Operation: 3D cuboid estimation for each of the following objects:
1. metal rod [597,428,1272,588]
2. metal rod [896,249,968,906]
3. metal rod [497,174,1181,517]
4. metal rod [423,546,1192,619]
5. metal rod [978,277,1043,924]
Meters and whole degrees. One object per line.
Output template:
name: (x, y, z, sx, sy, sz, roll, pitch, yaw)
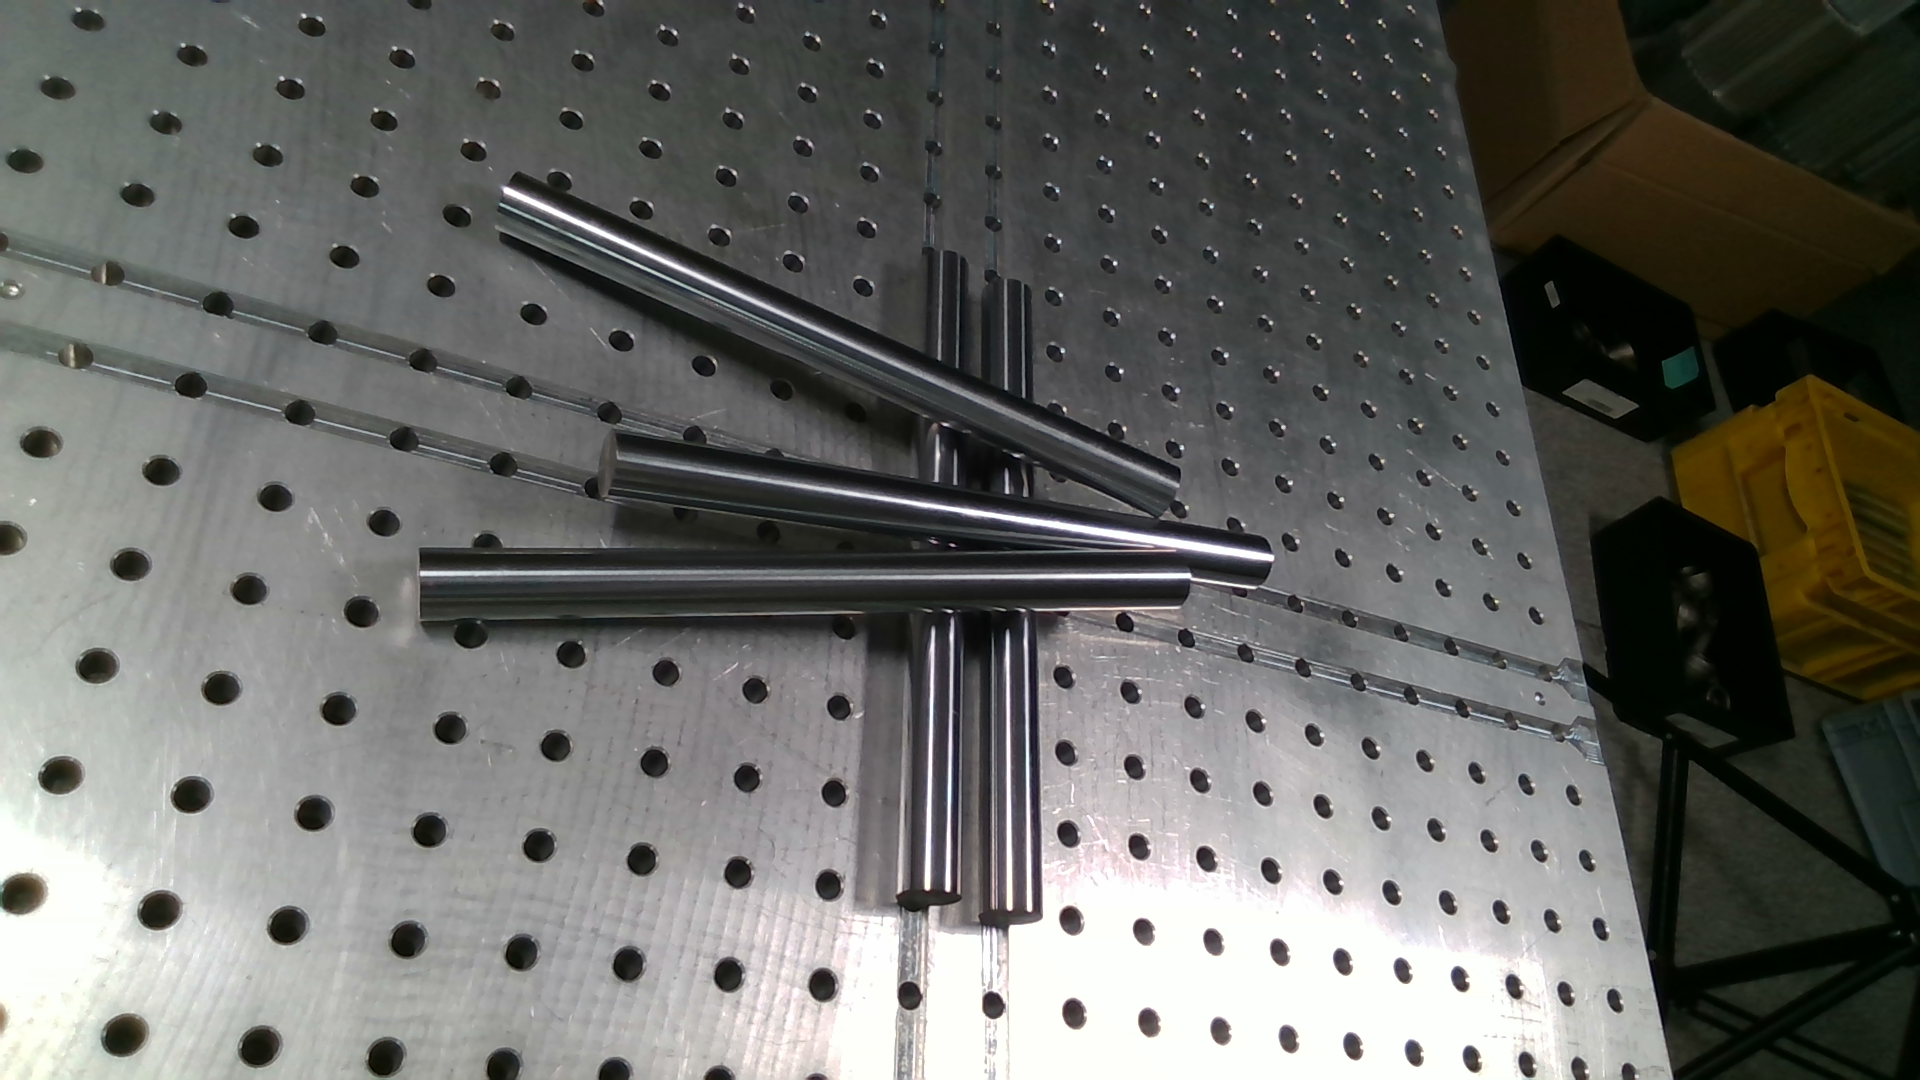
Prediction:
metal rod: (0.004, -0.009, 0.565, 0.300, 0.025, 0.025, 8, 61, -28)
metal rod: (-0.010, 0.001, 0.583, 0.025, 0.025, 0.299, 15, 58, -24)
metal rod: (-0.044, -0.078, 0.580, 0.300, 0.025, 0.025, 23, 55, -11)
metal rod: (-0.045, 0.016, 0.528, 0.300, 0.025, 0.025, 0, 65, -24)
metal rod: (0.020, 0.012, 0.596, 0.025, 0.025, 0.299, 15, 58, -24)
